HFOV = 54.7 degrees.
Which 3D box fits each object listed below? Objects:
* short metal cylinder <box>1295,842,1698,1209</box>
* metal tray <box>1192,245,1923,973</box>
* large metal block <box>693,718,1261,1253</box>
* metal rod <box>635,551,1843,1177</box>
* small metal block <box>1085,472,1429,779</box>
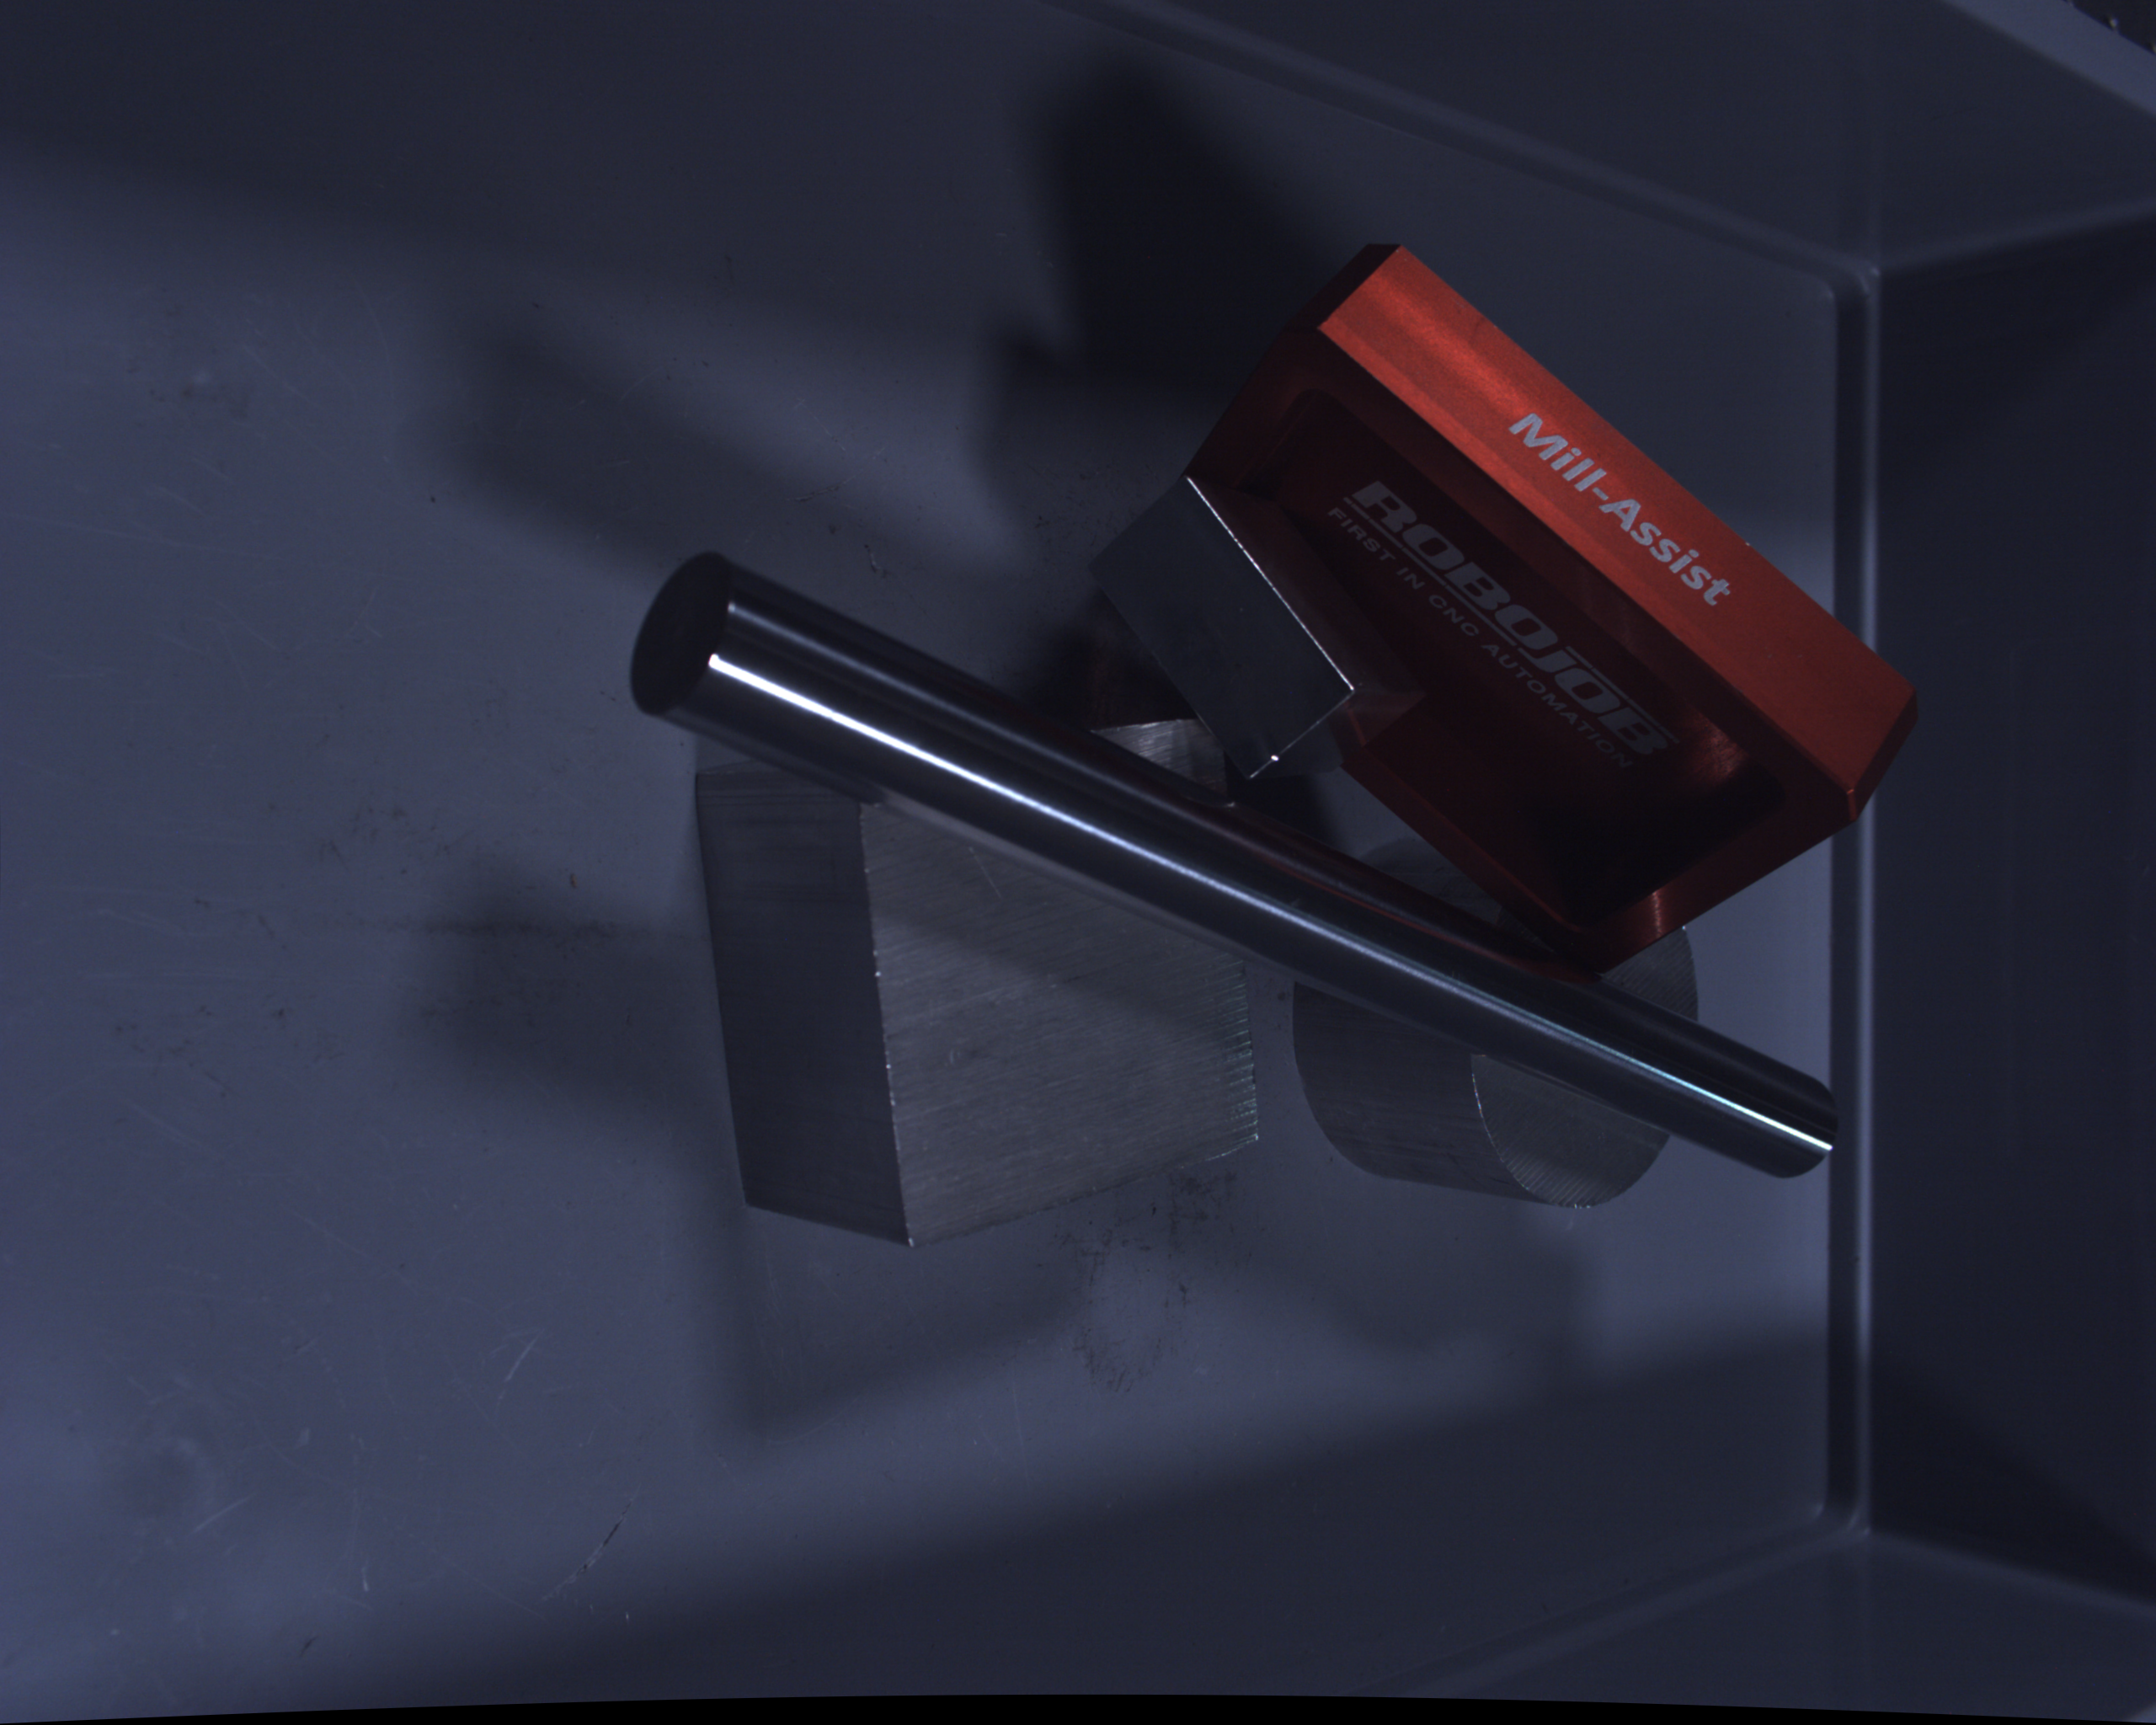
[{"bbox_3d":[0.095,0.035,0.471,0.081,0.050,0.079,0,90,-40],"label":"short metal cylinder"},{"bbox_3d":[0.080,-0.044,0.400,0.130,0.090,0.030,41,60,0],"label":"metal tray"},{"bbox_3d":[-0.017,0.018,0.377,0.081,0.050,0.079,-10,97,-40],"label":"large metal block"},{"bbox_3d":[0.054,0.014,0.386,0.302,0.025,0.025,23,76,-38],"label":"metal rod"},{"bbox_3d":[0.035,-0.044,0.392,0.050,0.025,0.050,54,21,12],"label":"small metal block"}]
